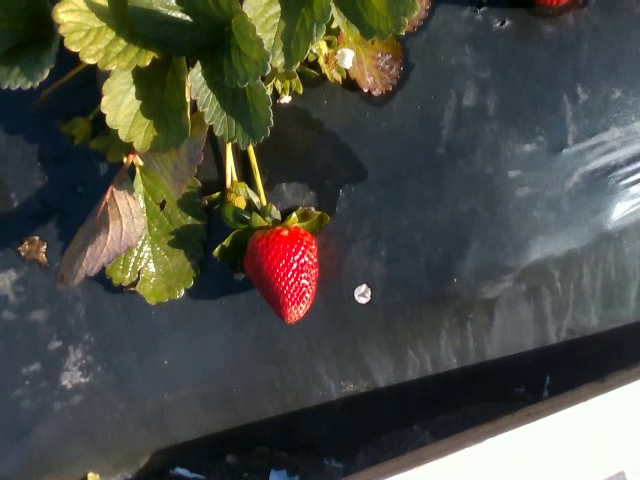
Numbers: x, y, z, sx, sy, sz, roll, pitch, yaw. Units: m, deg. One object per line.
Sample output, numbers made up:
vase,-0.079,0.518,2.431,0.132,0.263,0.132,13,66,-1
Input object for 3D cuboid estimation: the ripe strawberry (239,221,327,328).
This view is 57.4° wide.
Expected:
ripe strawberry,-0.016,0.017,0.280,0.046,0.055,0.041,-12,-28,-9
